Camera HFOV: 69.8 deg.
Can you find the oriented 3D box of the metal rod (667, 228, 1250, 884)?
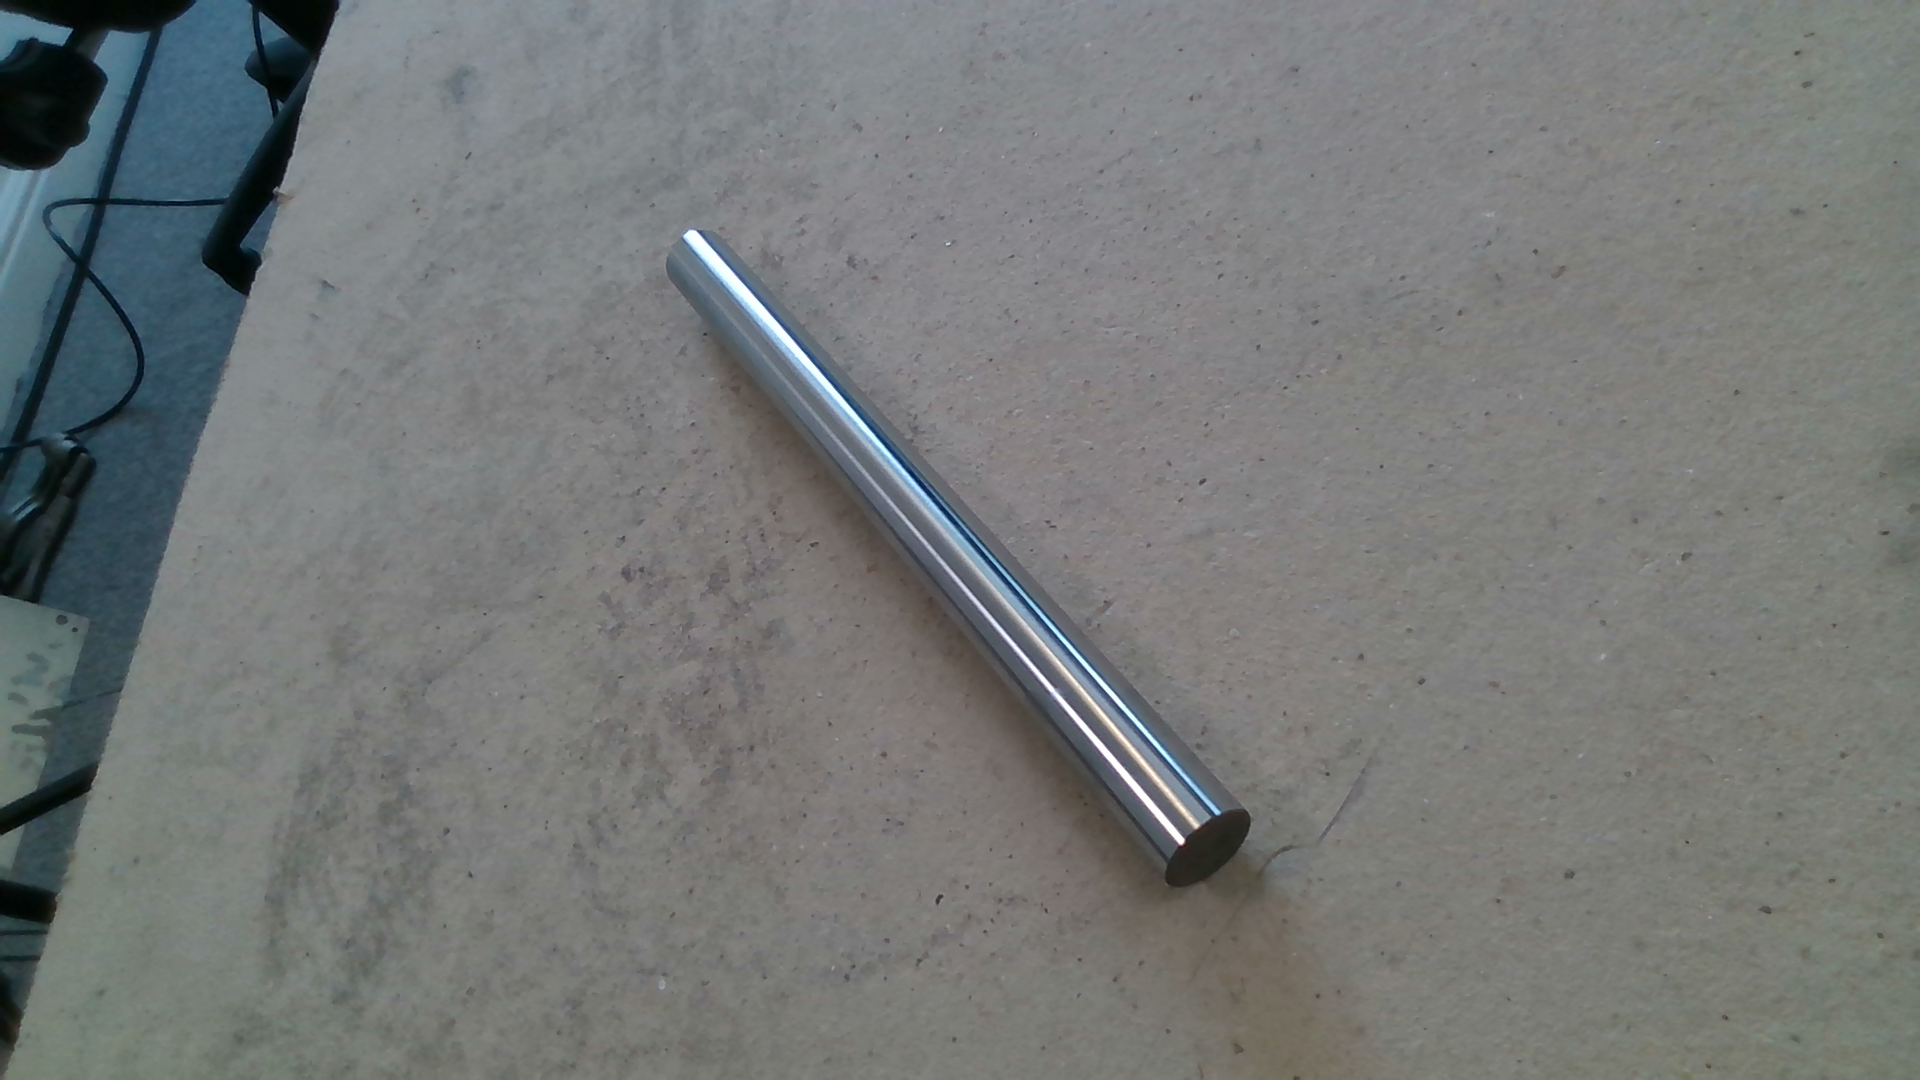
[{"bbox_3d":[-0.020,-0.016,0.414,0.025,0.025,0.299,-44,51,4],"label":"metal rod"}]
